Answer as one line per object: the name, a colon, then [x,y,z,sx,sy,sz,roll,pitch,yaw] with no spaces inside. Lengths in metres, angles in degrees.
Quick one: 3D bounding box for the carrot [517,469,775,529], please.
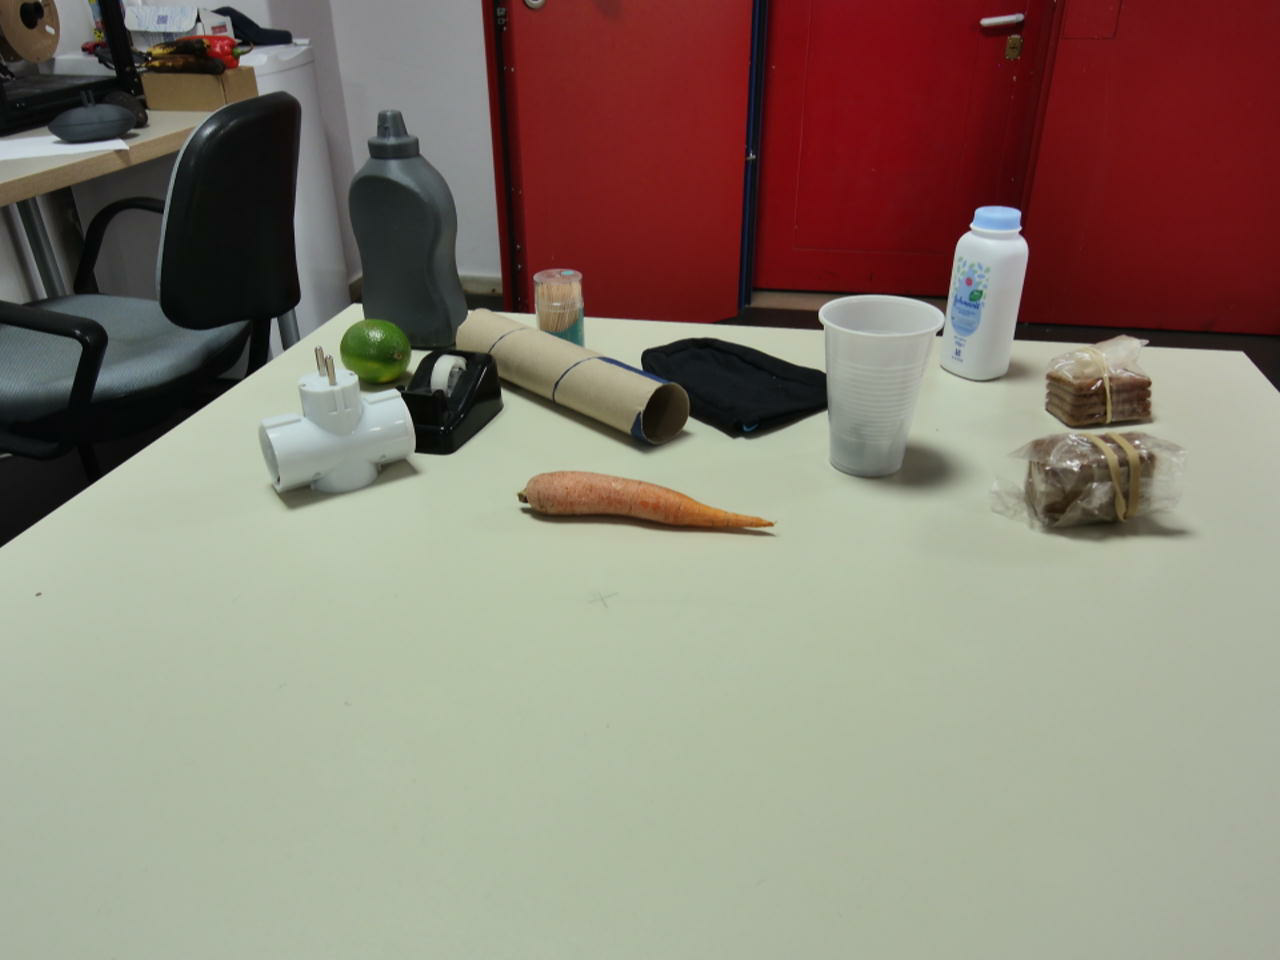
carrot: [0.002,0.013,0.620,0.163,0.029,0.031,5,27,11]
